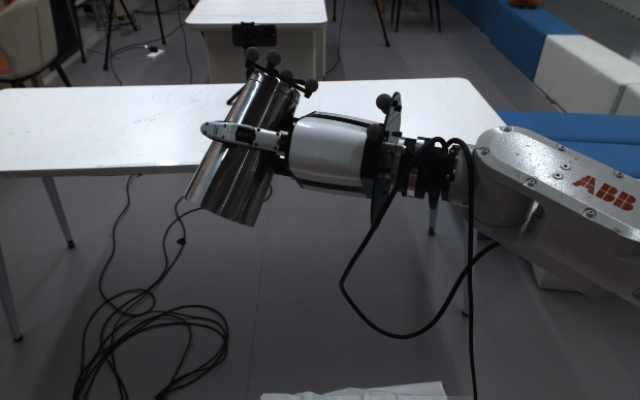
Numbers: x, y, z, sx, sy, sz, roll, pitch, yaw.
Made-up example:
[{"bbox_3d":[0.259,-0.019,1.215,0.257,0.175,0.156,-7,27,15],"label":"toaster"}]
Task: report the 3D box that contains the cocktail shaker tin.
[{"bbox_3d":[-0.086,-0.065,0.587,0.093,0.170,0.093,23,0,0],"label":"cocktail shaker tin"}]
